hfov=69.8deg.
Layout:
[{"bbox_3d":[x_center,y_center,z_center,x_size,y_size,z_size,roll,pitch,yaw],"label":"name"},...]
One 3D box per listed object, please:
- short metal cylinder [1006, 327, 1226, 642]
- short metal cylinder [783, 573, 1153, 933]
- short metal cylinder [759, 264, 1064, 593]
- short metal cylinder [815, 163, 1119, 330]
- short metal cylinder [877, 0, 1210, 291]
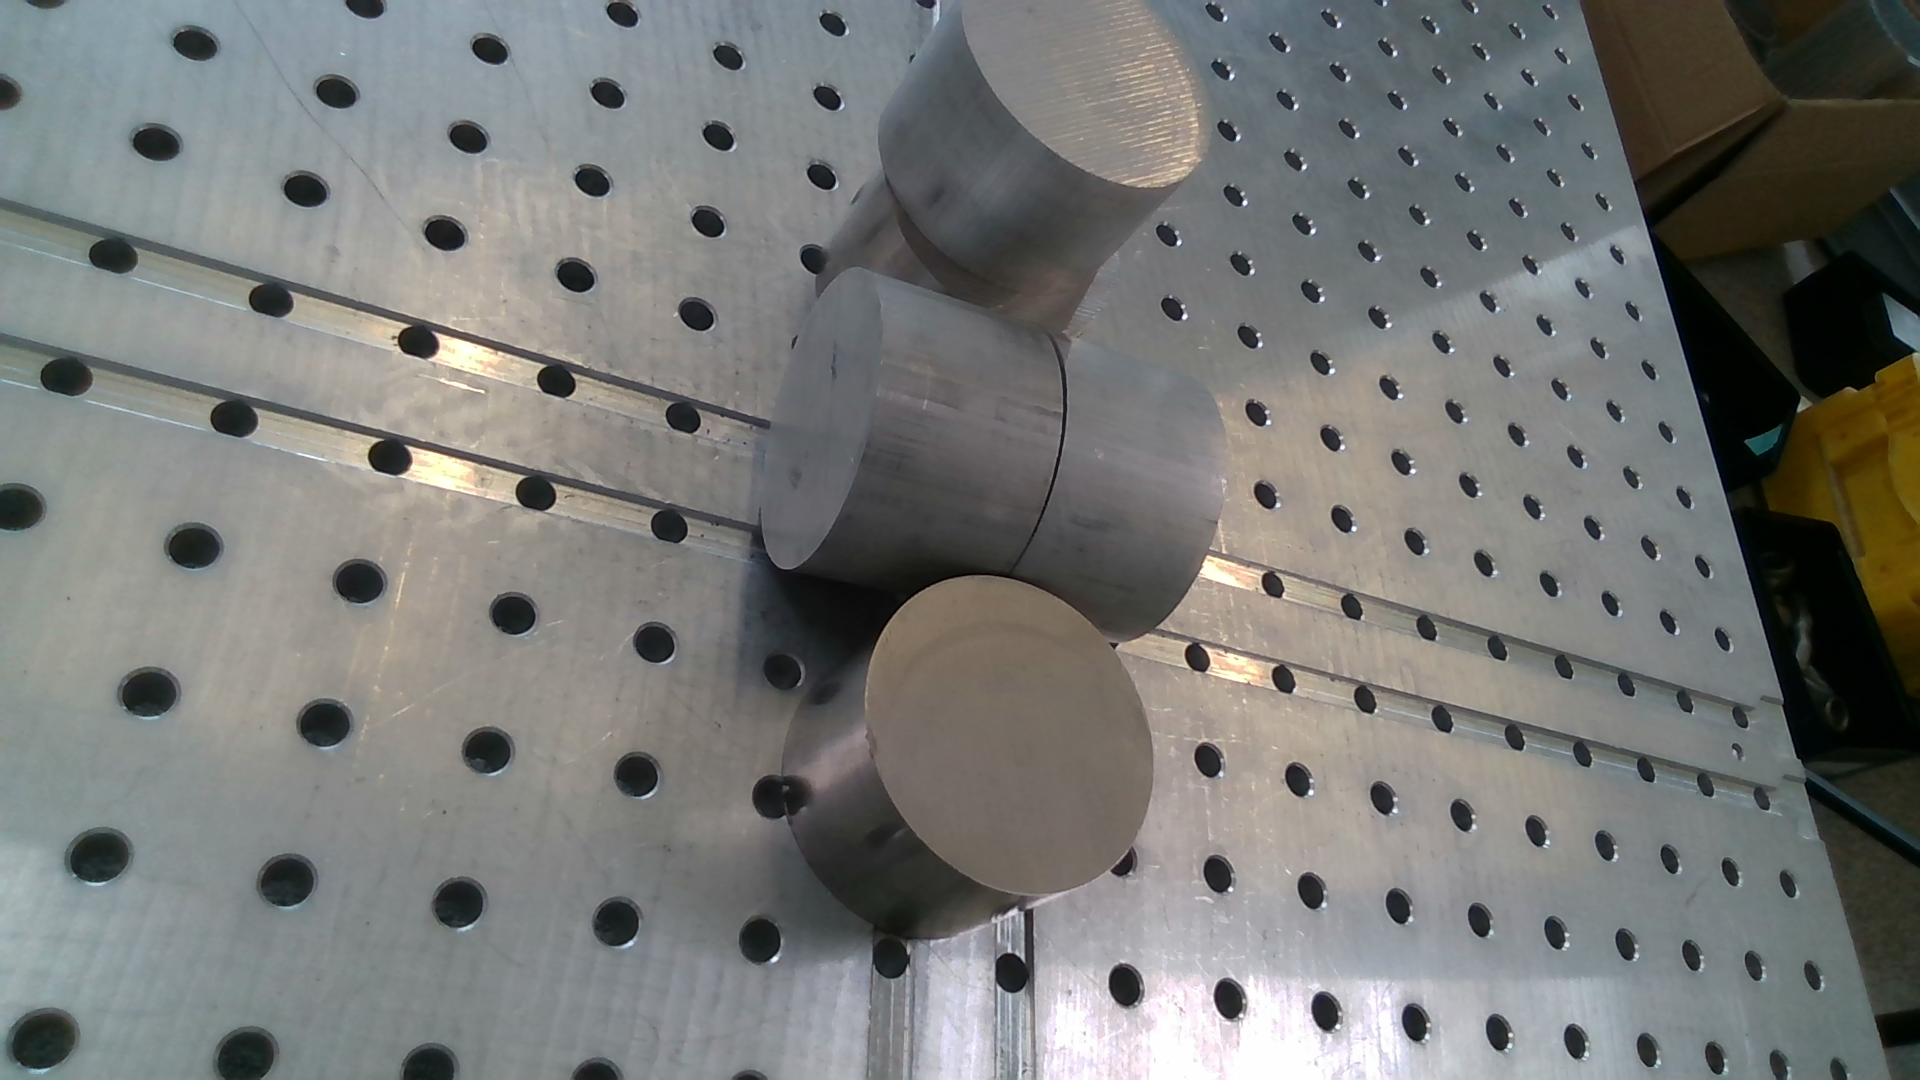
[{"bbox_3d":[0.030,-0.015,0.388,0.050,0.080,0.080,15,59,-24],"label":"short metal cylinder"},{"bbox_3d":[0.002,0.055,0.351,0.080,0.050,0.080,14,59,-25],"label":"short metal cylinder"},{"bbox_3d":[-0.015,-0.027,0.365,0.050,0.080,0.080,13,59,-25],"label":"short metal cylinder"},{"bbox_3d":[0.002,-0.085,0.427,0.080,0.050,0.080,14,59,-25],"label":"short metal cylinder"},{"bbox_3d":[0.023,-0.119,0.391,0.080,0.050,0.080,14,59,-25],"label":"short metal cylinder"}]
